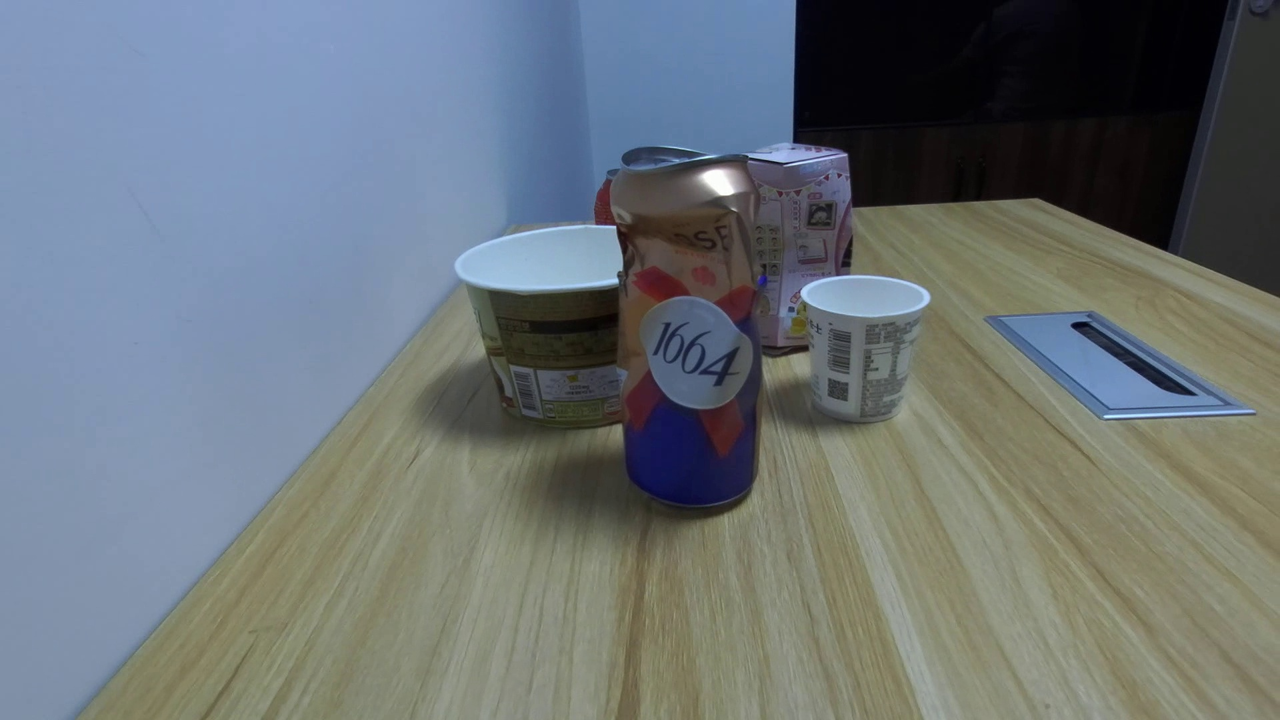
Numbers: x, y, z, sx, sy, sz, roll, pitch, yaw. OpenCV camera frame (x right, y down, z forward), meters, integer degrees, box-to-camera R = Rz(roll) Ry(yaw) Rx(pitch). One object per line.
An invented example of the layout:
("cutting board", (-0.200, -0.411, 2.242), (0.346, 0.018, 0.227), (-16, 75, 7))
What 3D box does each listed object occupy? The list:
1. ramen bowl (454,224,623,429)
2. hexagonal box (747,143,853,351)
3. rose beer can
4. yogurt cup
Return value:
("ramen bowl", (-0.036, -0.024, 0.443), (0.140, 0.095, 0.140), (-4, 23, 2))
("hexagonal box", (0.100, -0.078, 0.498), (0.093, 0.135, 0.088), (-13, 25, -24))
("rose beer can", (0.022, -0.010, 0.331), (0.073, 0.162, 0.068), (3, 18, 11))
("yogurt cup", (0.126, -0.006, 0.407), (0.072, 0.068, 0.072), (-3, 25, 2))
